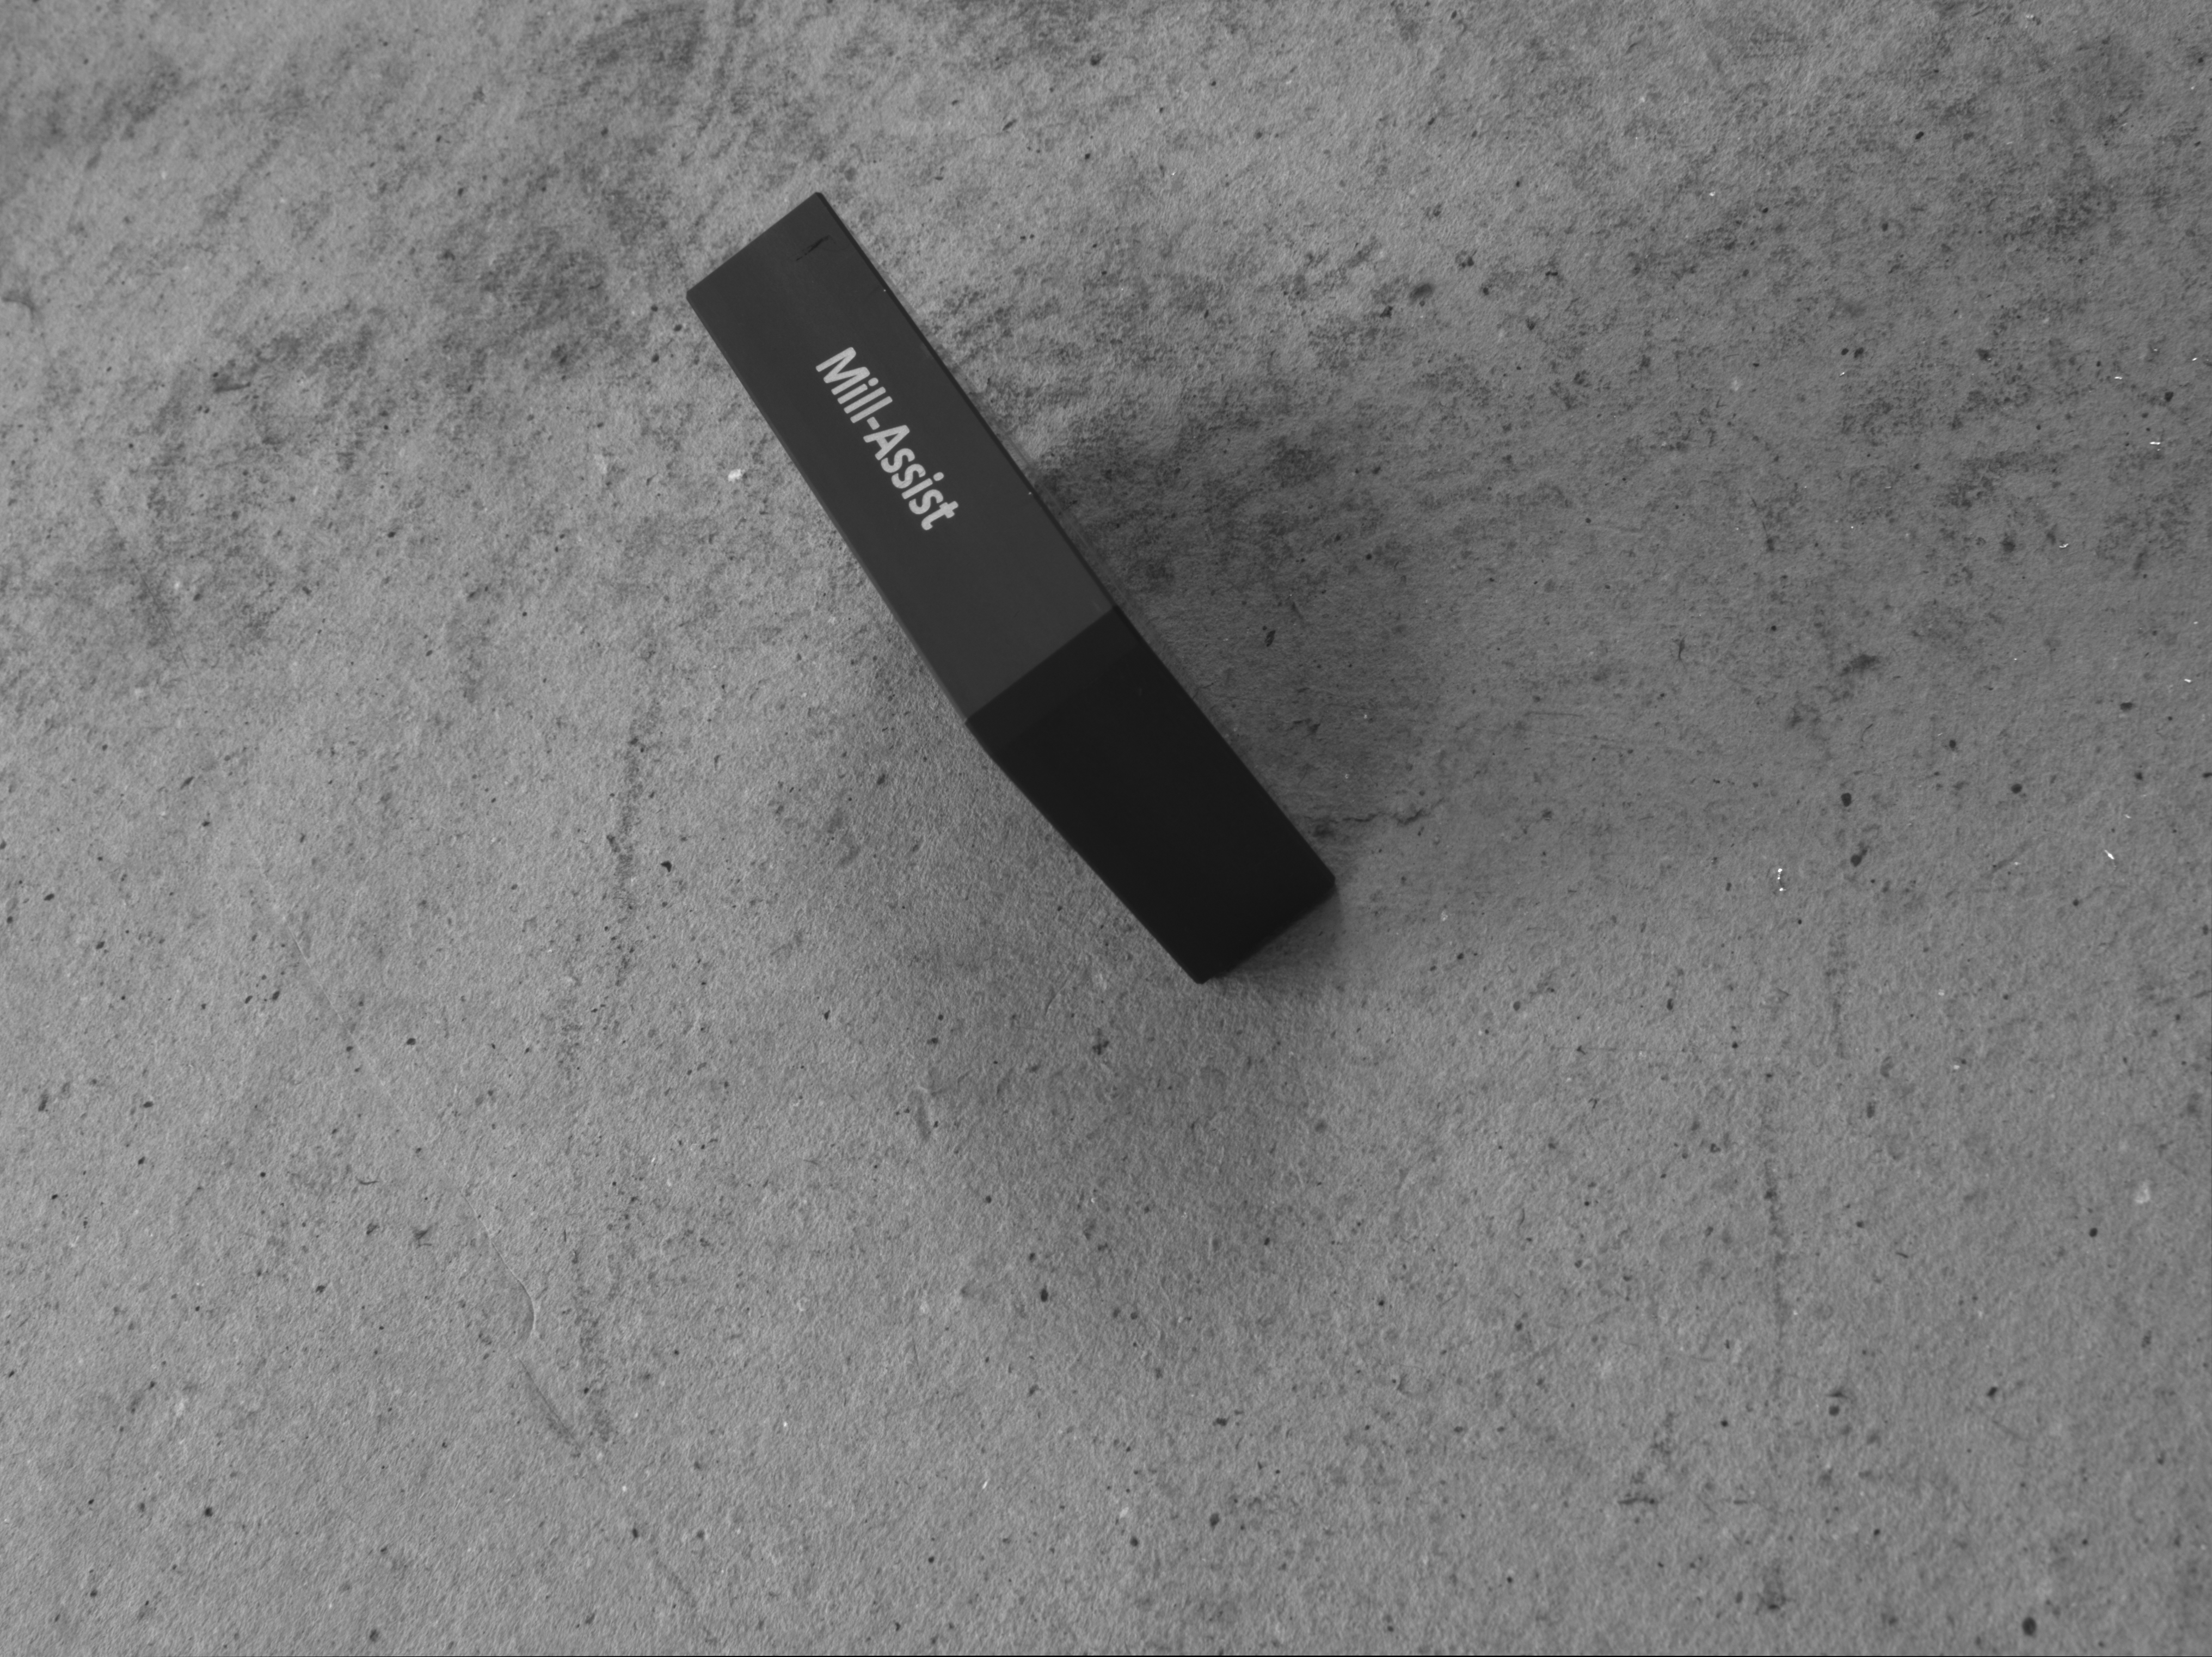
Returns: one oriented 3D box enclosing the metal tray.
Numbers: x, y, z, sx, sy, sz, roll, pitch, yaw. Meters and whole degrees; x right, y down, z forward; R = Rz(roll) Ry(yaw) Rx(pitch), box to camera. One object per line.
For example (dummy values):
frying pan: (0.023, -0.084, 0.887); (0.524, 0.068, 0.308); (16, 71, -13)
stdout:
metal tray: (-0.017, -0.043, 0.639); (0.030, 0.090, 0.130); (-37, 51, 4)
